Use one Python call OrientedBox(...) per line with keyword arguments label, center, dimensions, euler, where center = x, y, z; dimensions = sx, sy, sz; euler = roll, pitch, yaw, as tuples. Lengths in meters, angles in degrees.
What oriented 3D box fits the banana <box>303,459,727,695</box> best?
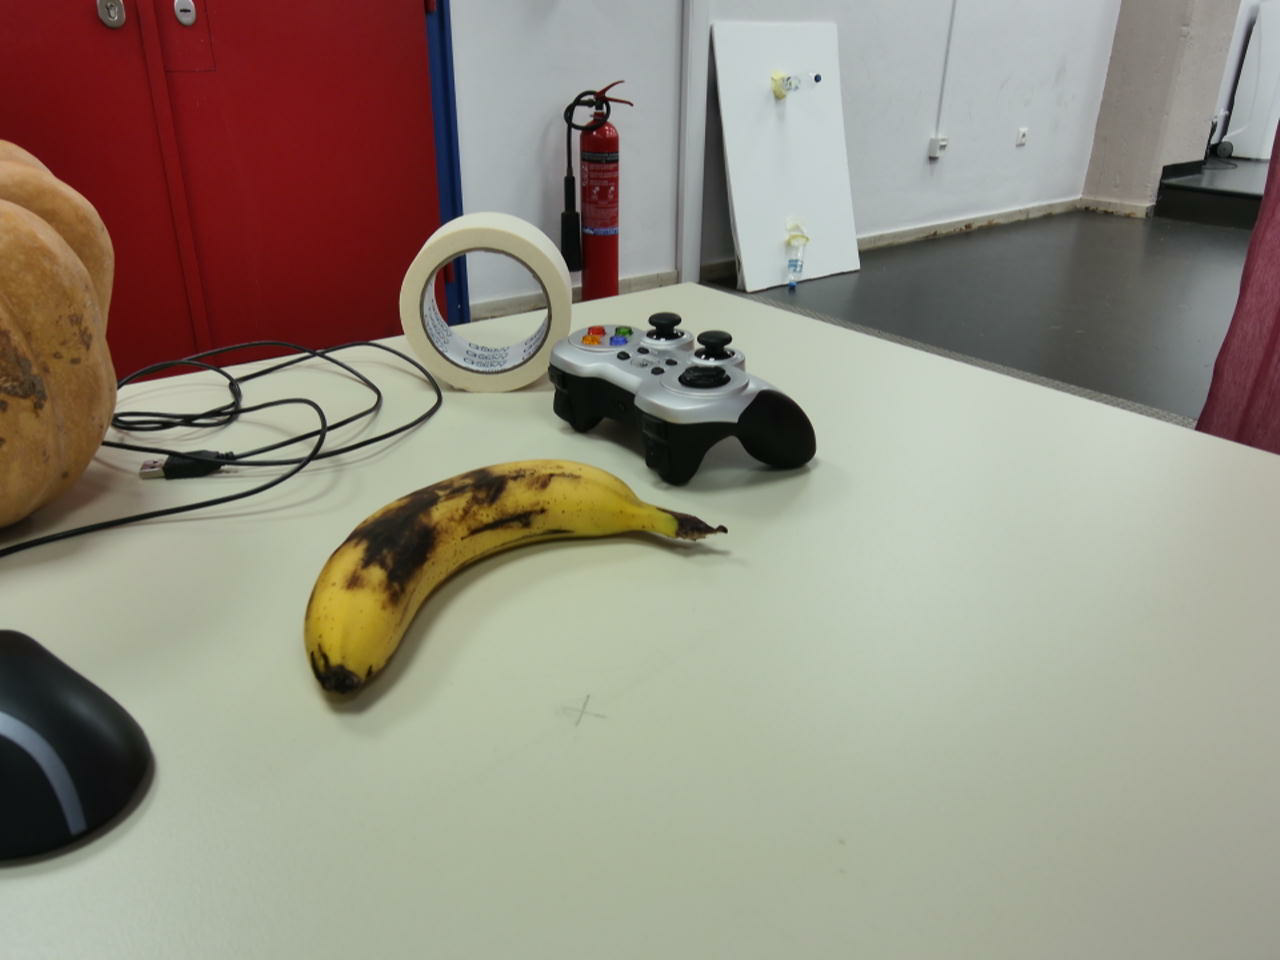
OrientedBox(label="banana", center=(-0.064, 0.027, 0.419), dimensions=(0.187, 0.039, 0.094), euler=(-19, 30, -37))
